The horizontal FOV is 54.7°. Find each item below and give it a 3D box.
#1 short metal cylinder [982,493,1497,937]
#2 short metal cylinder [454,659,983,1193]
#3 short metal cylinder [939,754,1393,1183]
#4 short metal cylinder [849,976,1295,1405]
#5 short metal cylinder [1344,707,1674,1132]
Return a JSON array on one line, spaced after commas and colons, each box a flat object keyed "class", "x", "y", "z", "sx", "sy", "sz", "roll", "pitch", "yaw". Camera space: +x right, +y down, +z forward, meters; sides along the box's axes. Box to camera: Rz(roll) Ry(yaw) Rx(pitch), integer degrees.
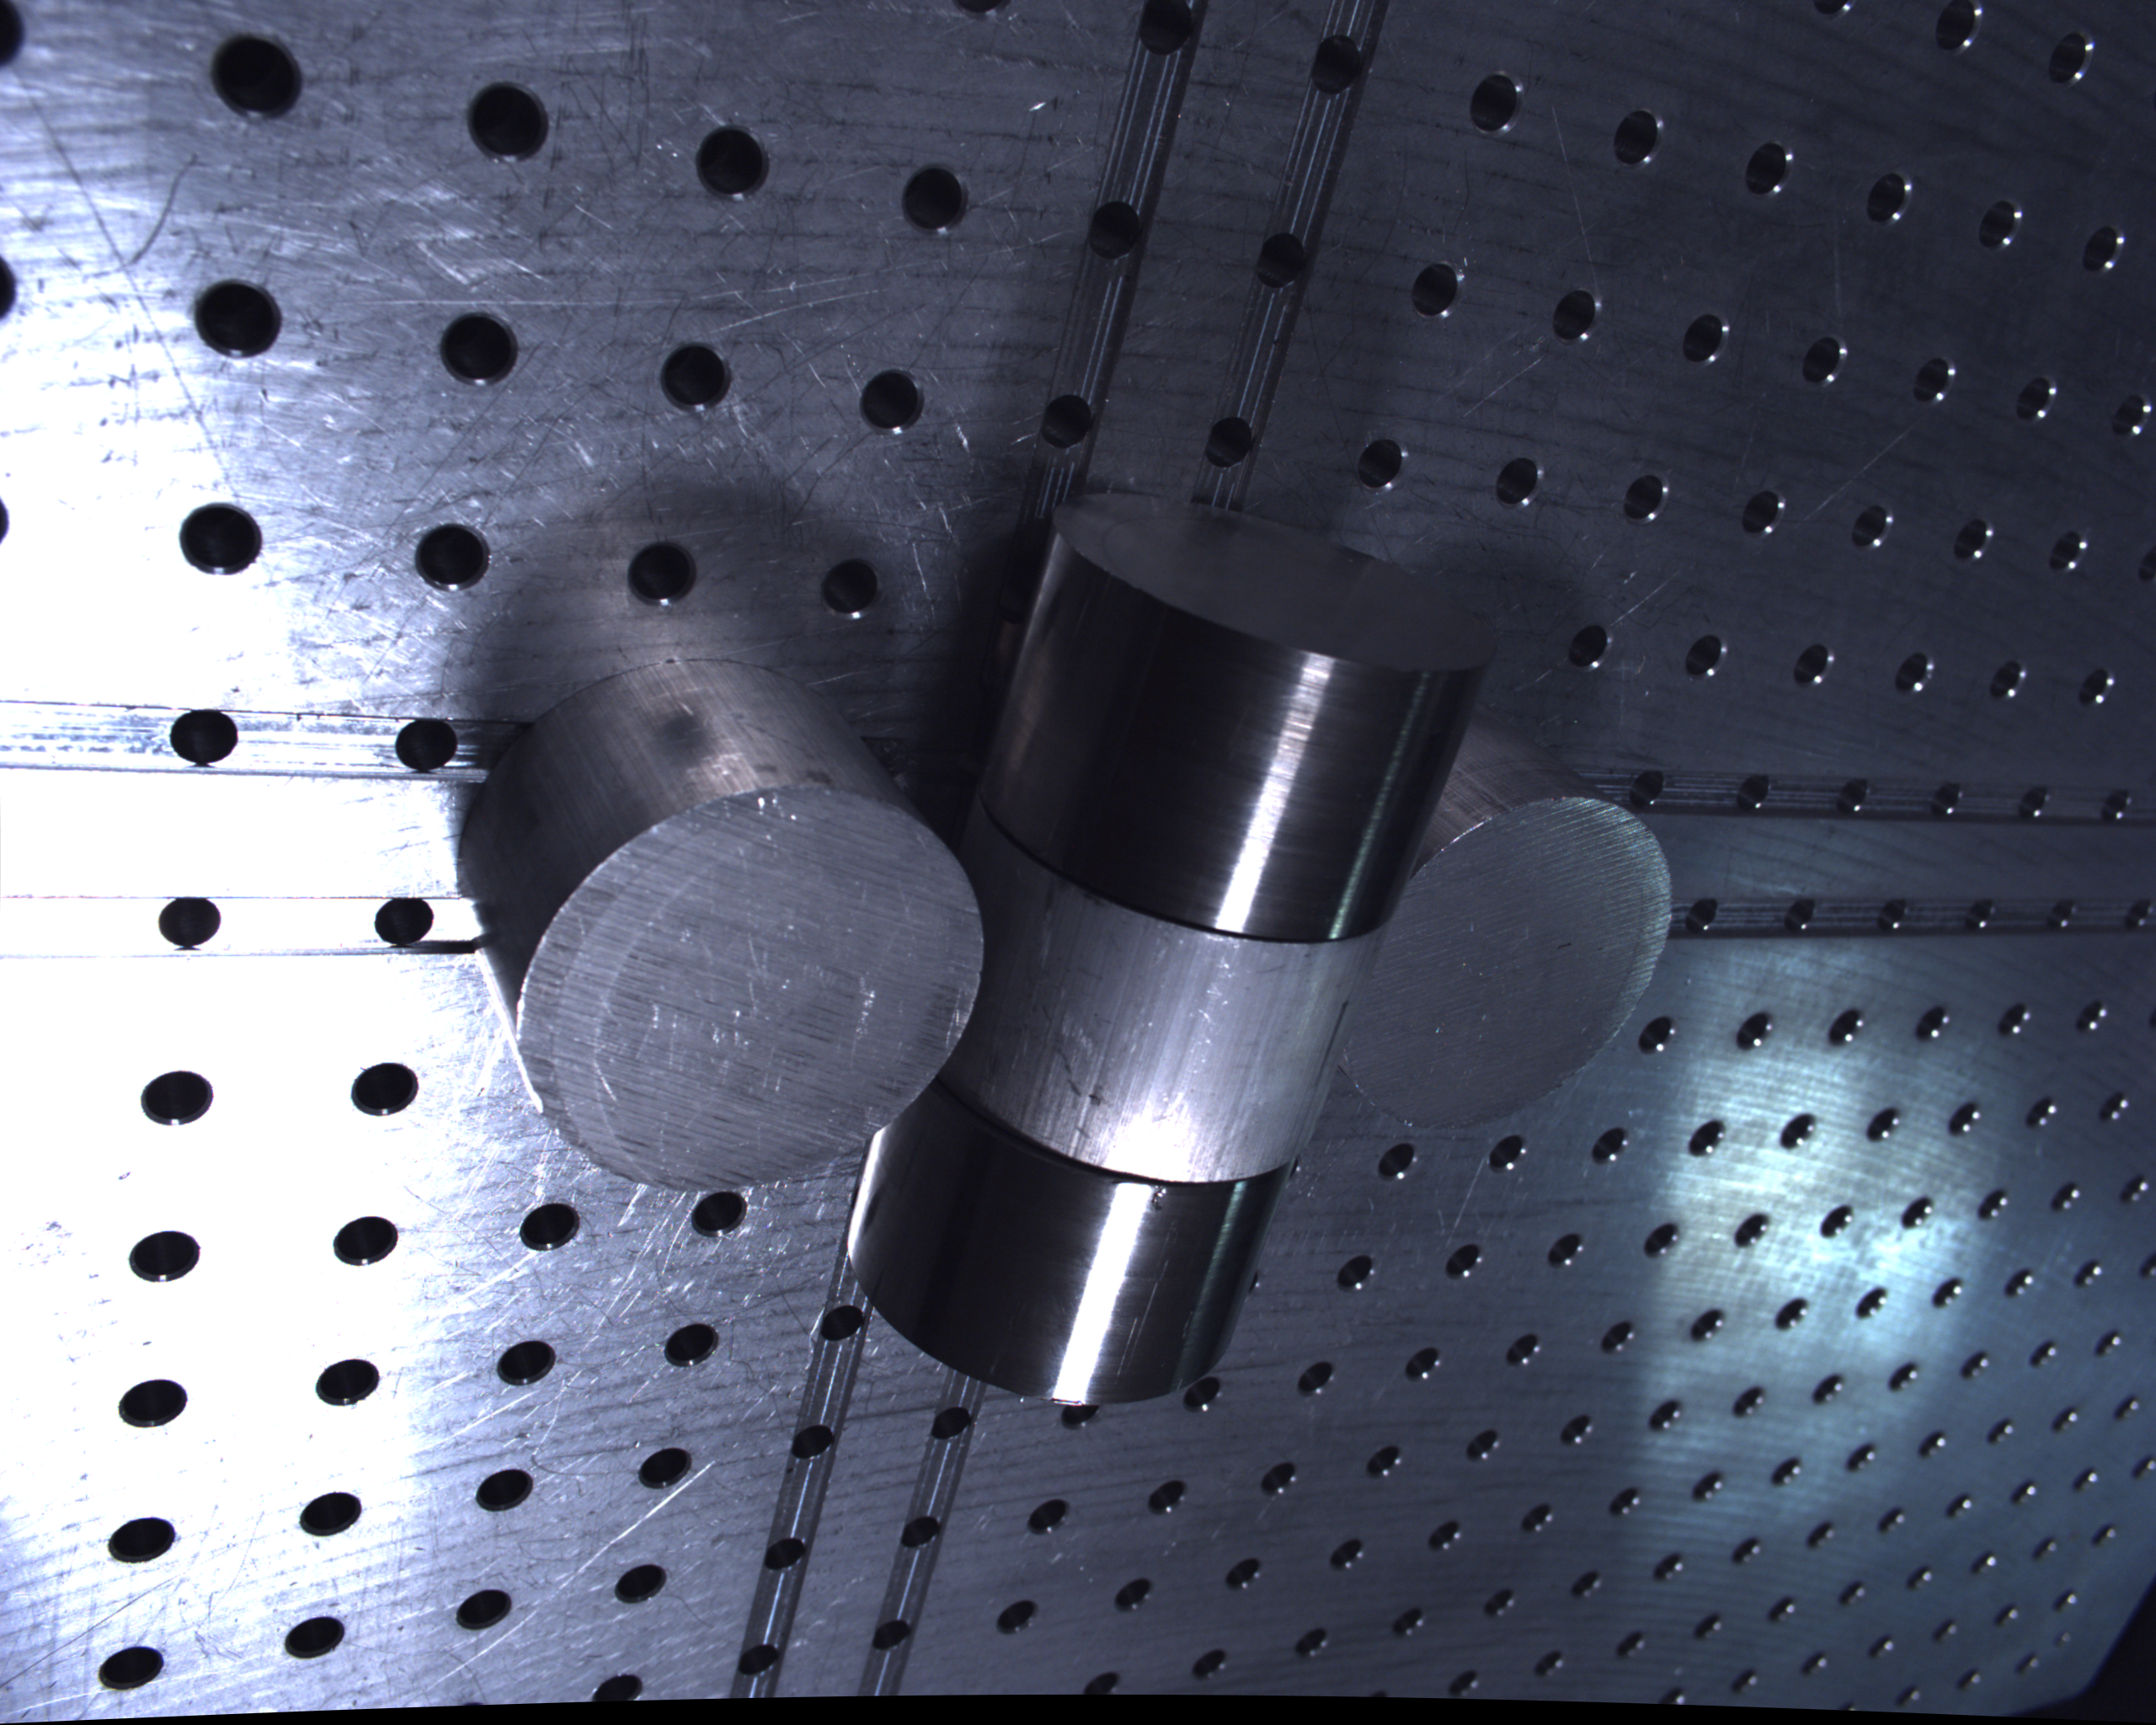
[{"class": "short metal cylinder", "x": 0.028, "y": -0.028, "z": 0.374, "sx": 0.081, "sy": 0.080, "sz": 0.050, "roll": 2, "pitch": 117, "yaw": -30}, {"class": "short metal cylinder", "x": -0.064, "y": 0.011, "z": 0.367, "sx": 0.081, "sy": 0.050, "sz": 0.079, "roll": -14, "pitch": 125, "yaw": -21}, {"class": "short metal cylinder", "x": 0.014, "y": 0.017, "z": 0.394, "sx": 0.081, "sy": 0.080, "sz": 0.050, "roll": 2, "pitch": 118, "yaw": -30}, {"class": "short metal cylinder", "x": -0.001, "y": 0.061, "z": 0.414, "sx": 0.081, "sy": 0.080, "sz": 0.050, "roll": 1, "pitch": 118, "yaw": -29}, {"class": "short metal cylinder", "x": 0.078, "y": 0.010, "z": 0.445, "sx": 0.081, "sy": 0.050, "sz": 0.079, "roll": -14, "pitch": 125, "yaw": -21}]
